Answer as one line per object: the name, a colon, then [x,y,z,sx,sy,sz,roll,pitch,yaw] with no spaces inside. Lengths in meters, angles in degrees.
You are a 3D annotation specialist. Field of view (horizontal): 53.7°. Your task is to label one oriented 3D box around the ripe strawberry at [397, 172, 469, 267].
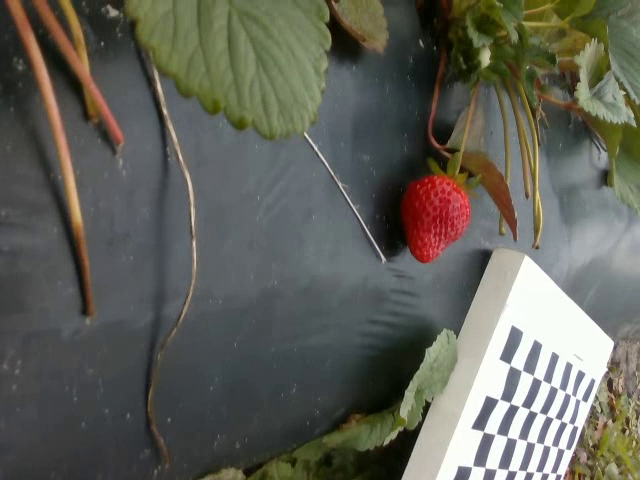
ripe strawberry: [0.038,-0.006,0.202,0.022,0.033,0.029,14,-25,43]
